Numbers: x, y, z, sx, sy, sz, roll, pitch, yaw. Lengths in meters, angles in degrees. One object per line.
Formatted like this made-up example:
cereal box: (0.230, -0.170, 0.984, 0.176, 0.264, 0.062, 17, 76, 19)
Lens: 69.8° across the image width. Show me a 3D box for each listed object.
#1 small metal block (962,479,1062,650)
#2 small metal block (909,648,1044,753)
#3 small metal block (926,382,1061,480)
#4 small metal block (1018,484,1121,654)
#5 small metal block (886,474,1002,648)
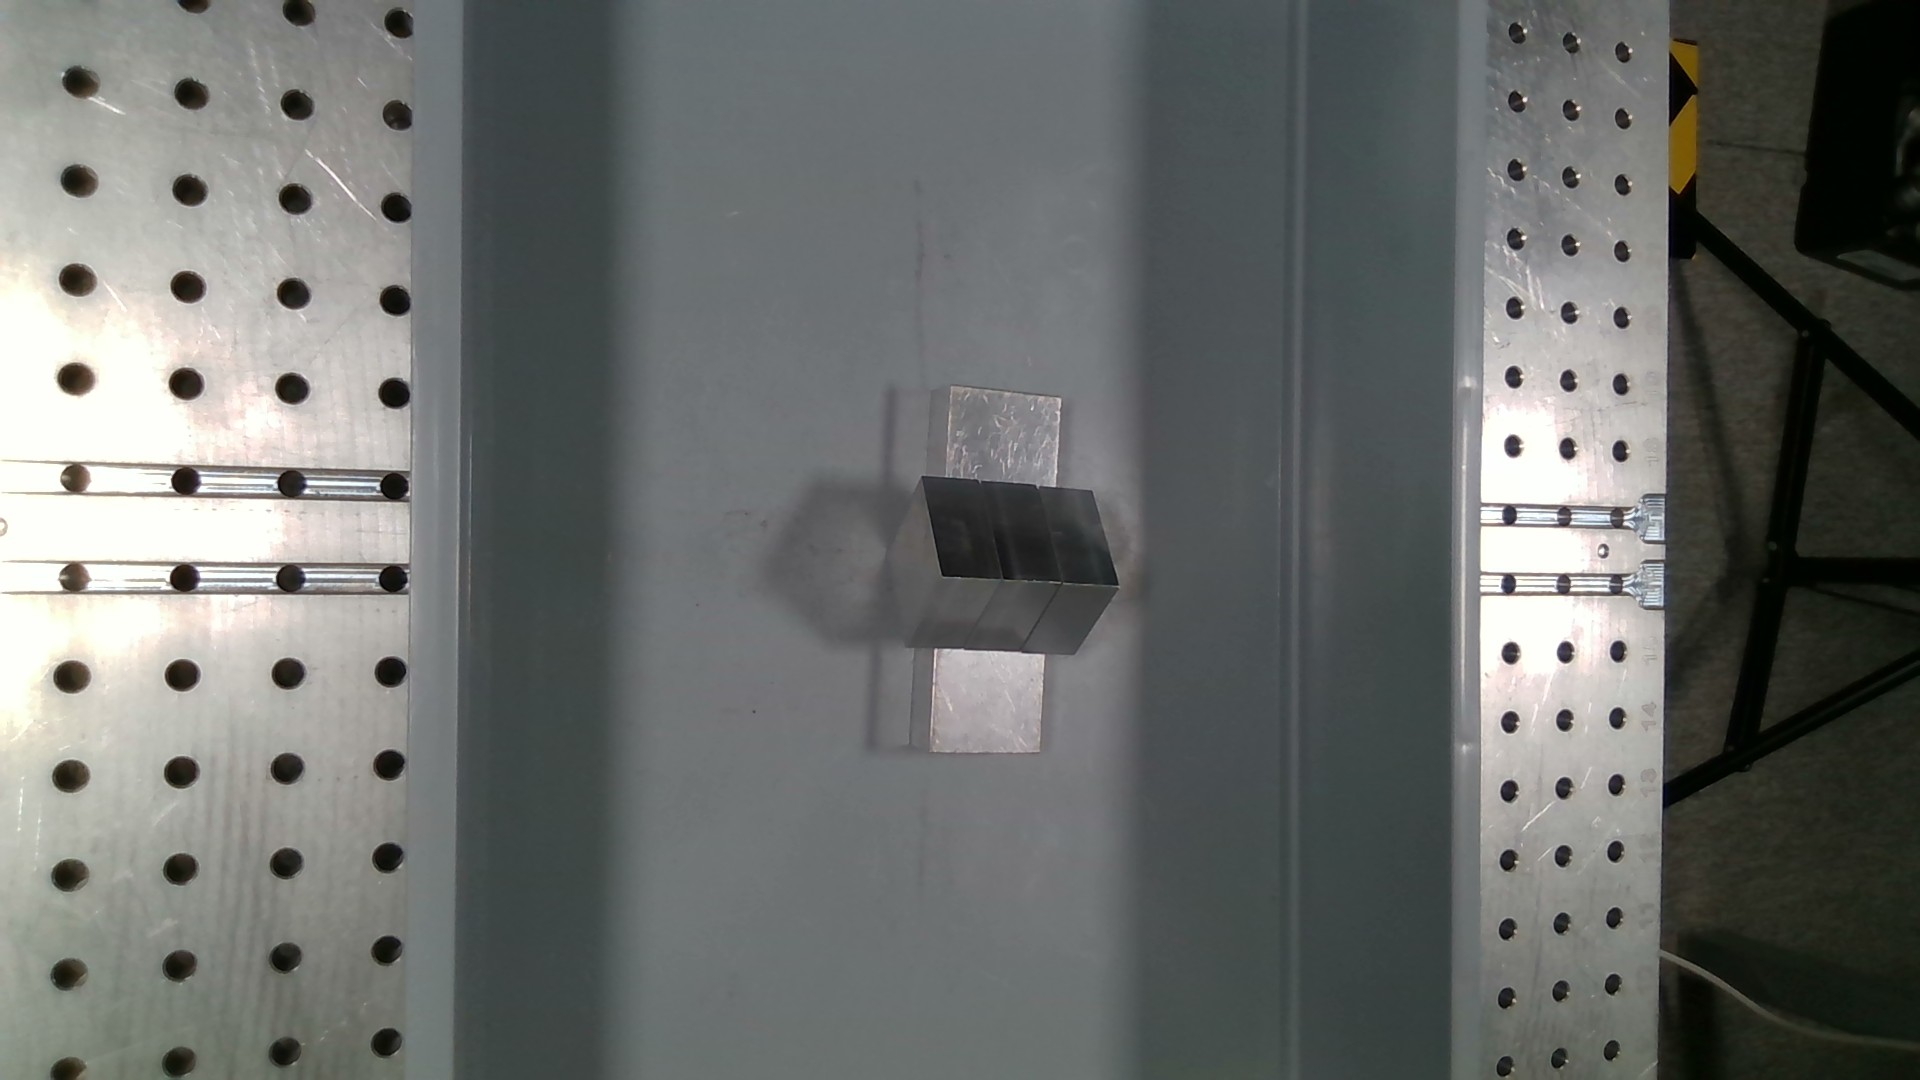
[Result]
small metal block: (0.016, 0.011, 0.567, 0.025, 0.050, 0.050, 3, 53, -21)
small metal block: (0.007, 0.064, 0.588, 0.050, 0.025, 0.050, 3, 89, -20)
small metal block: (0.014, -0.039, 0.590, 0.050, 0.025, 0.050, 4, 89, -20)
small metal block: (0.040, 0.013, 0.575, 0.025, 0.050, 0.050, 4, 52, -21)
small metal block: (-0.008, 0.009, 0.558, 0.025, 0.050, 0.050, 3, 53, -21)
